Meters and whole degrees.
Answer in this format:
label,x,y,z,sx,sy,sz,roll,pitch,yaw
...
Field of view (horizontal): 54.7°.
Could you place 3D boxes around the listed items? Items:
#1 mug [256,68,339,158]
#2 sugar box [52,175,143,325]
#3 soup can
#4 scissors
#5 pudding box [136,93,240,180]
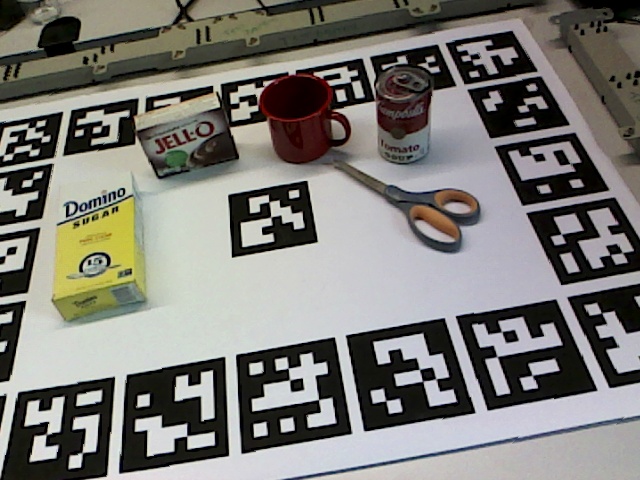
label,x,y,z,sx,sy,sz,roll,pitch,yaw
mug,-0.020,-0.156,0.798,0.093,0.081,0.118,-42,57,-18
sugar box,-0.264,0.007,0.741,0.093,0.045,0.177,-14,54,0
soup can,0.099,-0.147,0.769,0.068,0.101,0.068,-5,52,6
scissors,0.094,-0.047,0.738,0.204,0.016,0.087,32,73,26
pudding box,-0.168,-0.132,0.793,0.114,0.089,0.039,-18,60,-5
